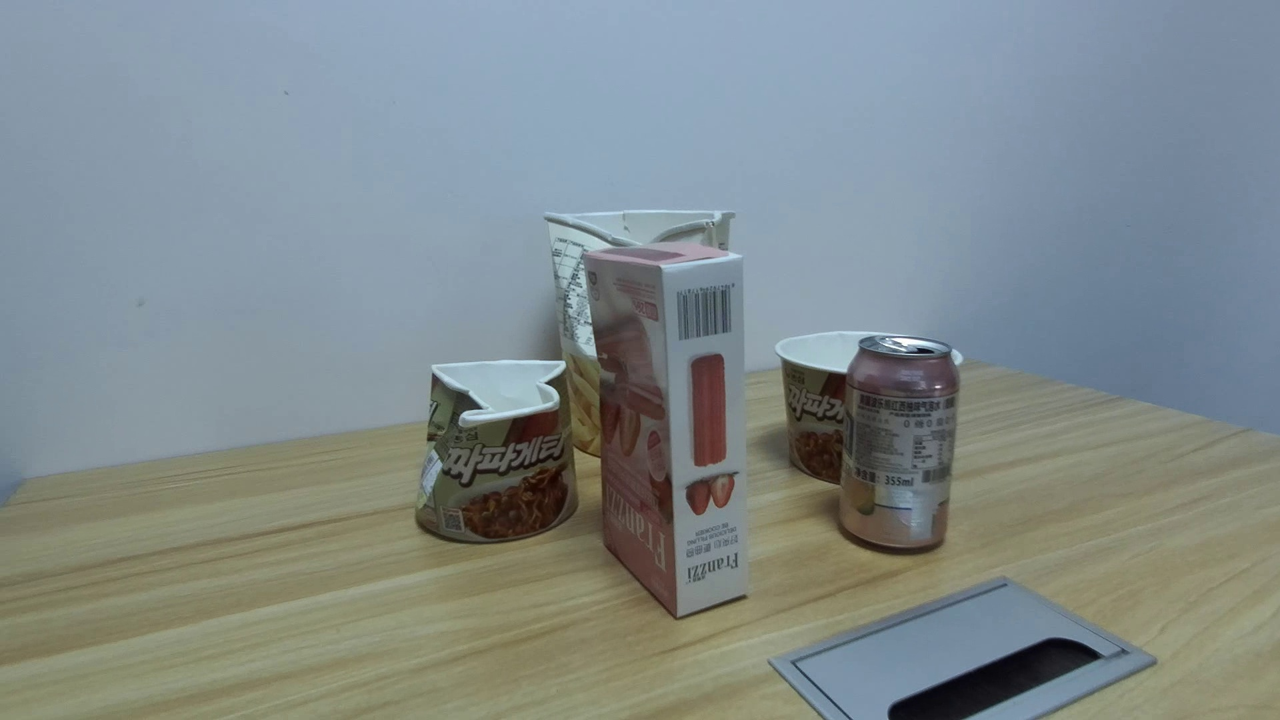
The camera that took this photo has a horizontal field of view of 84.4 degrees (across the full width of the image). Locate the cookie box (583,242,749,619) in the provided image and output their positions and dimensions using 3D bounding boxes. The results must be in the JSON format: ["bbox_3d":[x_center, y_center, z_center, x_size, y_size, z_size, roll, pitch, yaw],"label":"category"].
[{"bbox_3d":[0.012,0.031,0.393,0.049,0.187,0.104,-9,15,-24],"label":"cookie box"}]

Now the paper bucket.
[{"bbox_3d":[0.001,-0.028,0.618,0.162,0.202,0.169,0,12,9],"label":"paper bucket"}]

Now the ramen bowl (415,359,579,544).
[{"bbox_3d":[-0.100,0.061,0.481,0.111,0.093,0.128,-2,15,-3],"label":"ramen bowl"}]
